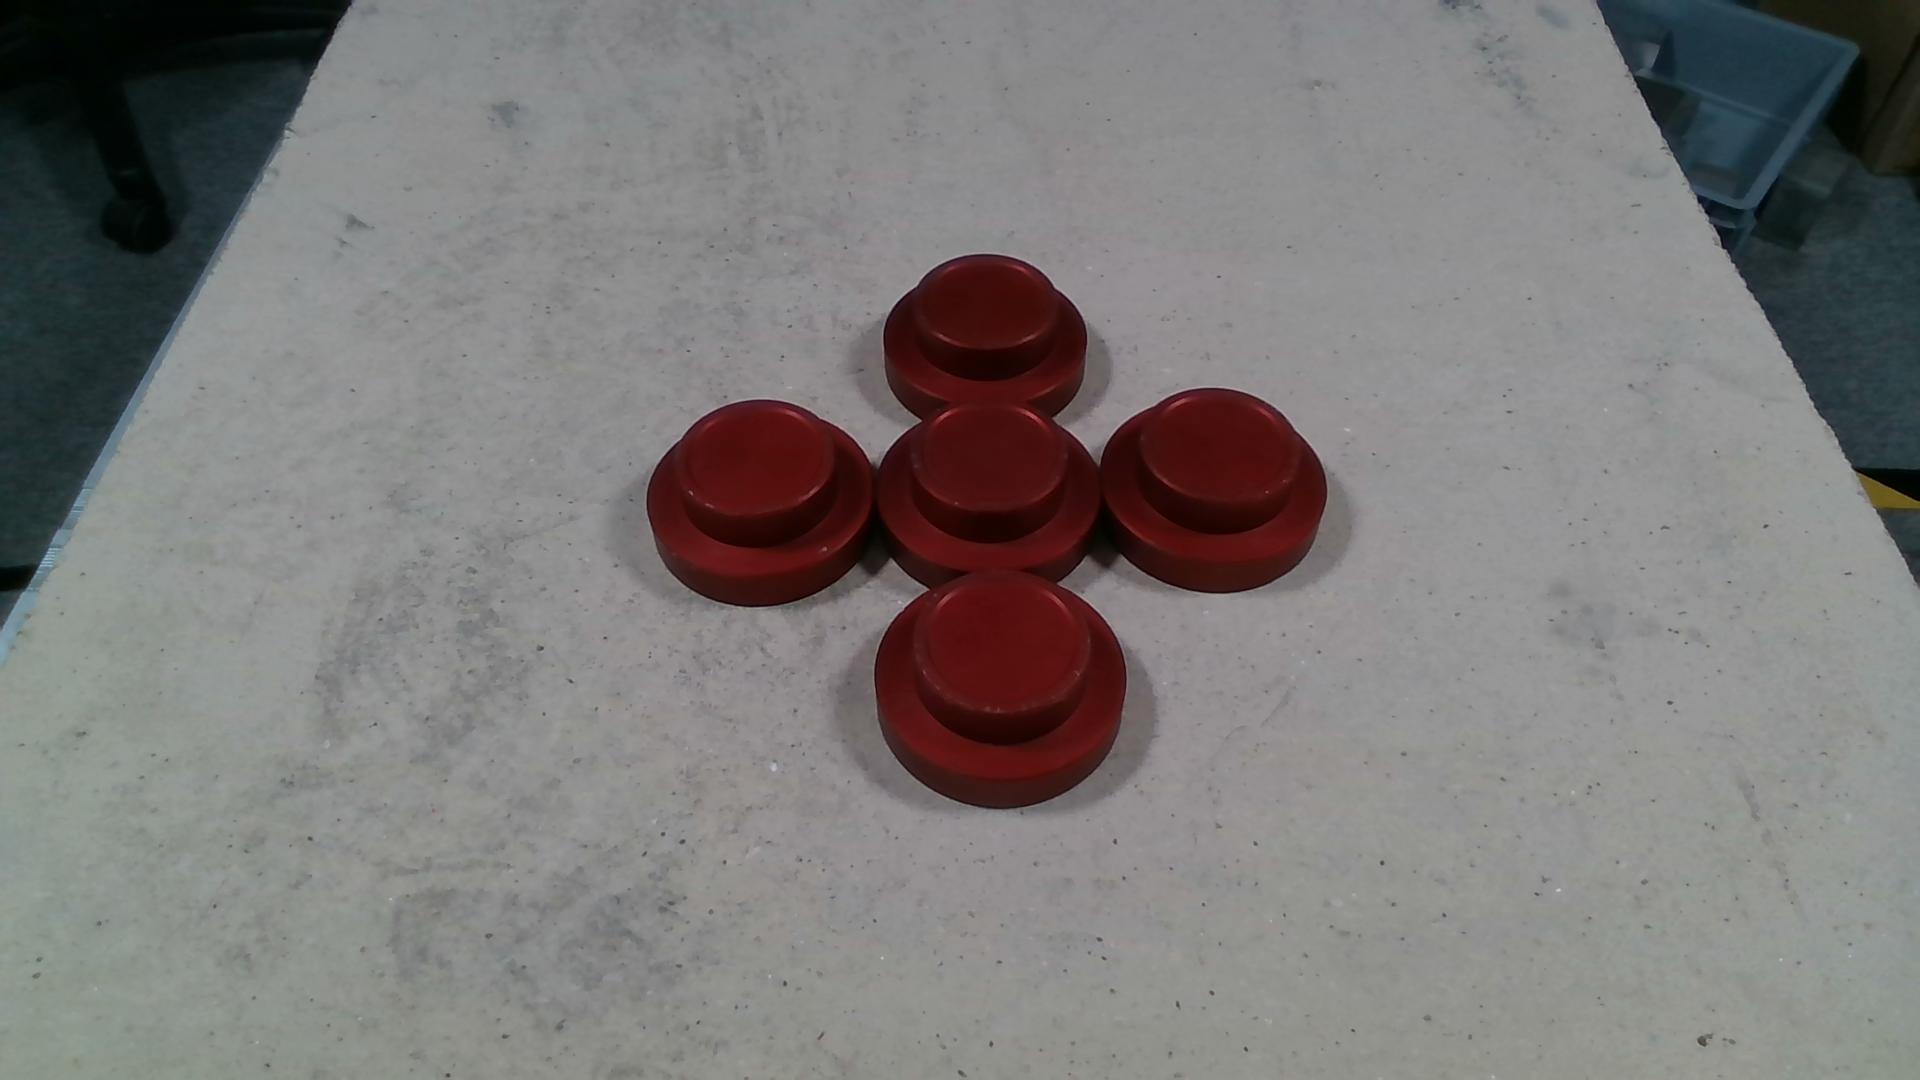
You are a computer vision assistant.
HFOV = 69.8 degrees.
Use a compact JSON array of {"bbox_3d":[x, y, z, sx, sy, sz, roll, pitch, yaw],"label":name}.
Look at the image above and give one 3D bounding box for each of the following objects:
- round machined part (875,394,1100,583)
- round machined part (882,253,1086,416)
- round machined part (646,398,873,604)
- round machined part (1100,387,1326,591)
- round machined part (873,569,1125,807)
[{"bbox_3d":[0.012,-0.025,0.597,0.098,0.042,0.098,0,50,0],"label":"round machined part"},{"bbox_3d":[0.011,-0.100,0.660,0.098,0.042,0.098,0,50,0],"label":"round machined part"},{"bbox_3d":[-0.087,-0.023,0.595,0.098,0.042,0.098,0,50,0],"label":"round machined part"},{"bbox_3d":[0.110,-0.028,0.600,0.098,0.042,0.098,0,50,0],"label":"round machined part"},{"bbox_3d":[0.015,0.050,0.534,0.098,0.042,0.098,0,50,0],"label":"round machined part"}]
